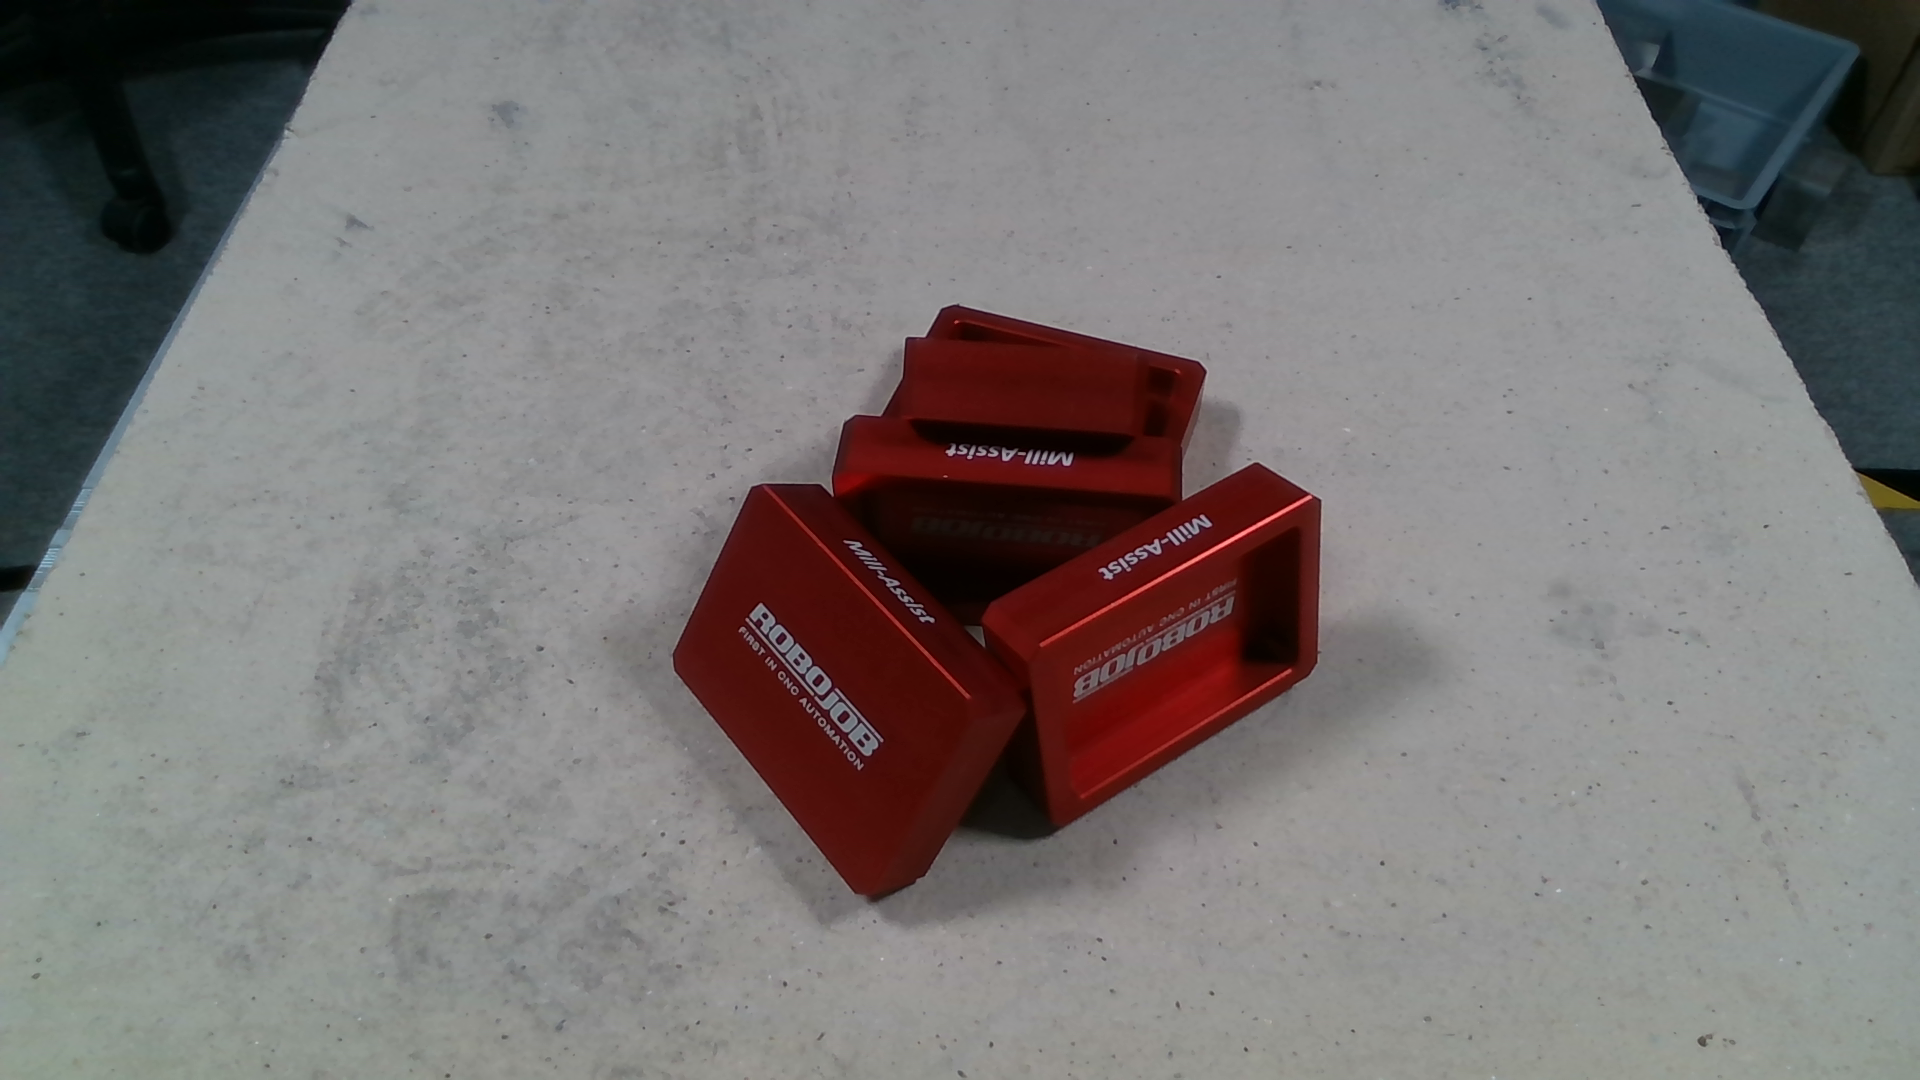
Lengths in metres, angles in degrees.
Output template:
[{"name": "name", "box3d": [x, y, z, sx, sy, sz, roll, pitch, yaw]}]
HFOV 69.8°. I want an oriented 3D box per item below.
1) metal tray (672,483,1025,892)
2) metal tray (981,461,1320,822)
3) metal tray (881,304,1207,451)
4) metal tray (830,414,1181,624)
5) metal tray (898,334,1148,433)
[{"name": "metal tray", "box3d": [-0.046, 0.051, 0.502, 0.030, 0.090, 0.130, -2, 38, -50]}, {"name": "metal tray", "box3d": [0.074, 0.037, 0.511, 0.130, 0.090, 0.030, -27, 41, -21]}, {"name": "metal tray", "box3d": [0.038, -0.056, 0.631, 0.130, 0.030, 0.090, 15, 52, 13]}, {"name": "metal tray", "box3d": [0.018, -0.004, 0.548, 0.130, 0.090, 0.030, 4, 50, 4]}, {"name": "metal tray", "box3d": [0.027, -0.063, 0.566, 0.090, 0.030, 0.130, 5, 6, 4]}]
